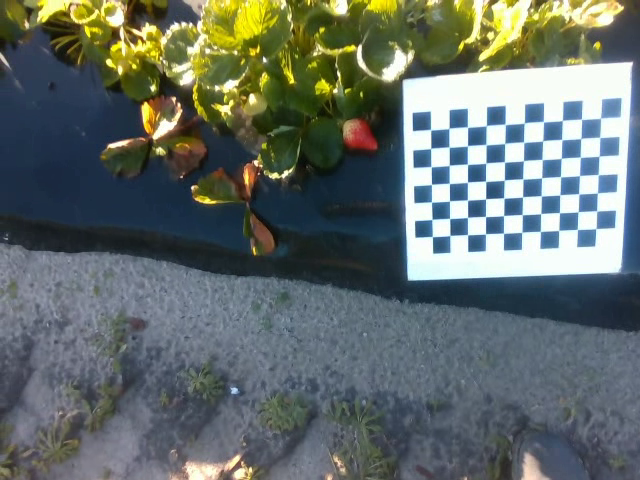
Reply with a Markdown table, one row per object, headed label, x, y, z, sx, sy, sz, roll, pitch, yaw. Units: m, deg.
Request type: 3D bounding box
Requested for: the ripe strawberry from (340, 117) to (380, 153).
| label | x | y | z | sx | sy | sz | roll | pitch | yaw |
| --- | --- | --- | --- | --- | --- | --- | --- | --- | --- |
| ripe strawberry | 0.058 | -0.148 | 0.857 | 0.065 | 0.040 | 0.040 | 37 | 9 | -4 |
